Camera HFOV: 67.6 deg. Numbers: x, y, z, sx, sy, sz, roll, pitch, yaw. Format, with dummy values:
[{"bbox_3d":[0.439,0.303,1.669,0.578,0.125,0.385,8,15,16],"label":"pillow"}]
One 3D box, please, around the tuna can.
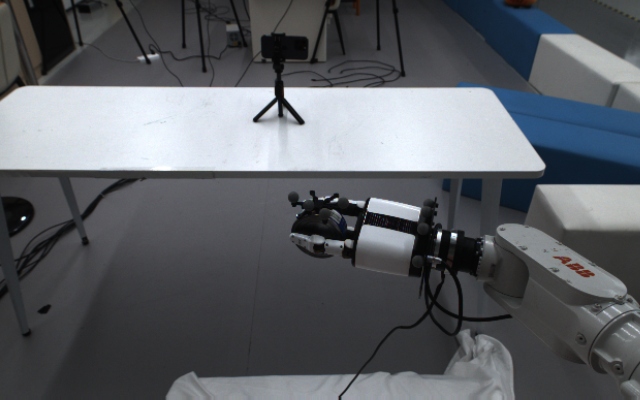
[{"bbox_3d":[0.001,0.048,0.772,0.085,0.085,0.034,11,34,12],"label":"tuna can"}]
